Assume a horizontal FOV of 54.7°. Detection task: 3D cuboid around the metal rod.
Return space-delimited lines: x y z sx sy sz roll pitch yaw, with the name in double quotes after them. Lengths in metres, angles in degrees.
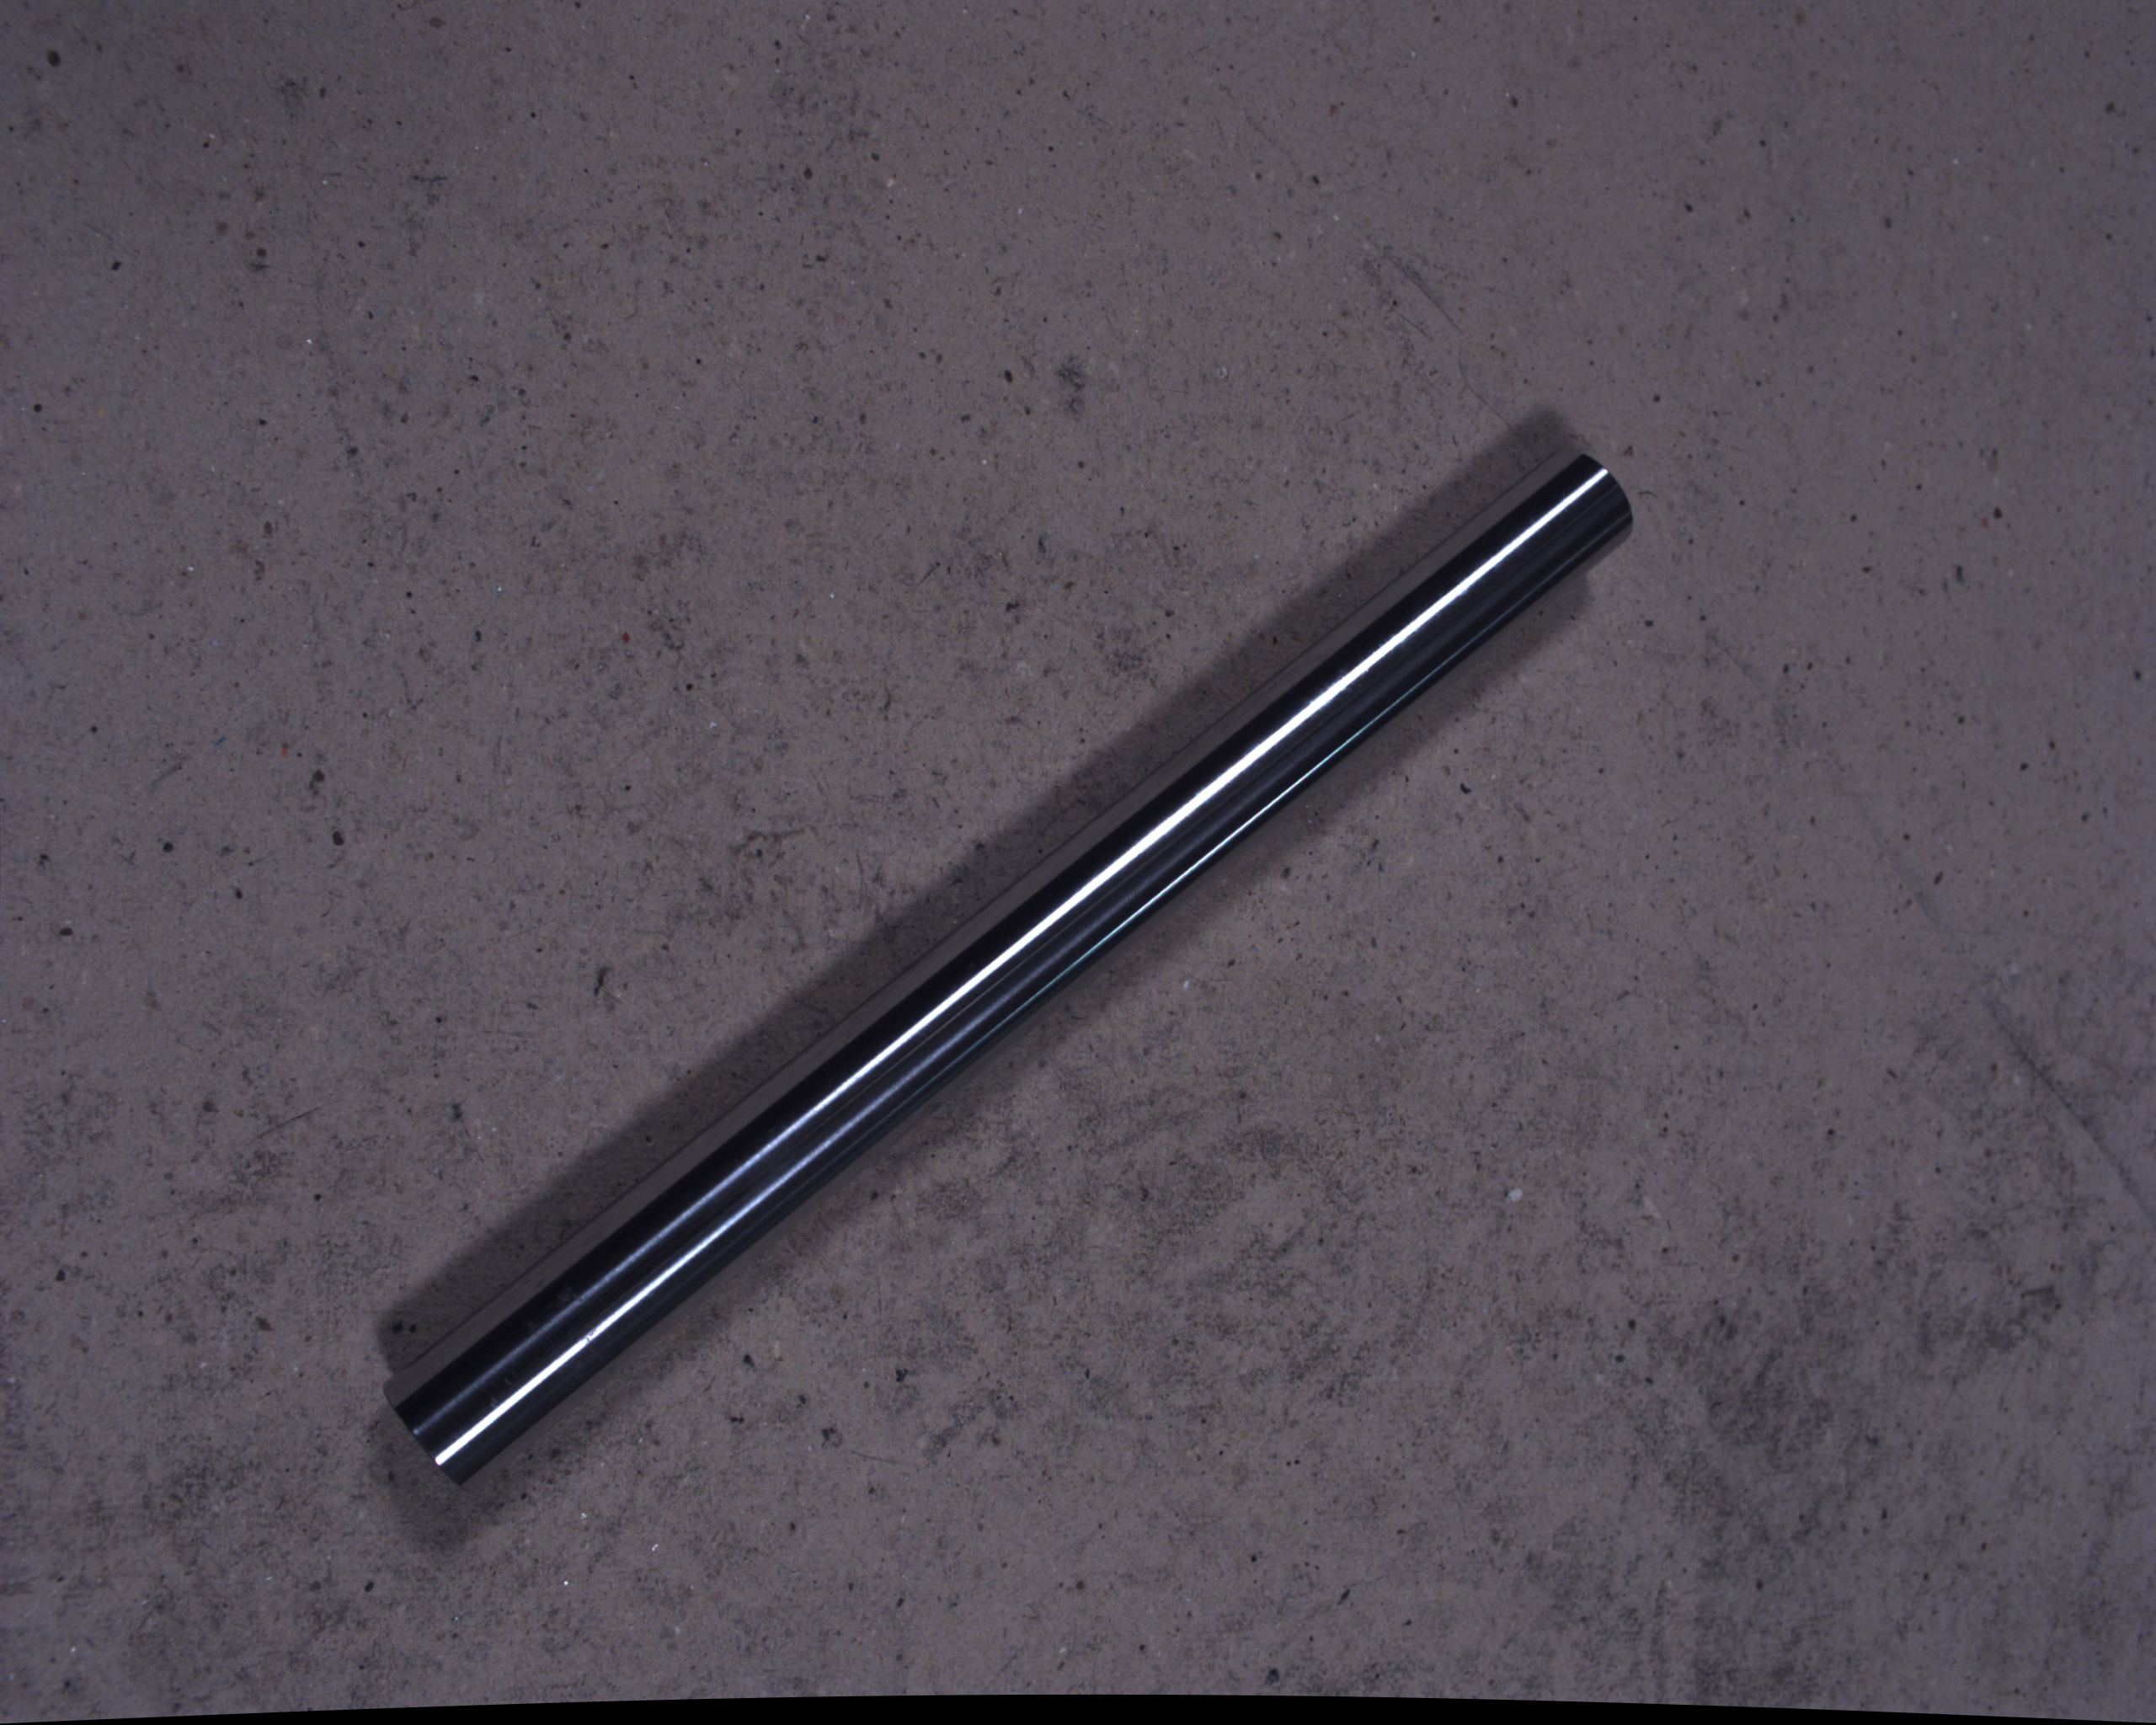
-0.002 0.011 0.411 0.301 0.025 0.025 -39 103 -16 "metal rod"
